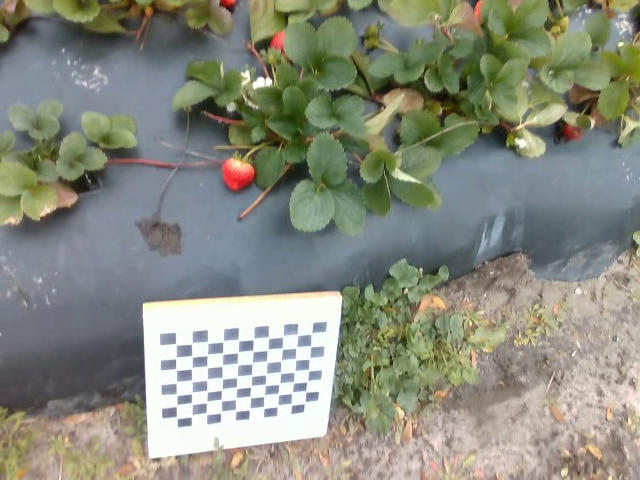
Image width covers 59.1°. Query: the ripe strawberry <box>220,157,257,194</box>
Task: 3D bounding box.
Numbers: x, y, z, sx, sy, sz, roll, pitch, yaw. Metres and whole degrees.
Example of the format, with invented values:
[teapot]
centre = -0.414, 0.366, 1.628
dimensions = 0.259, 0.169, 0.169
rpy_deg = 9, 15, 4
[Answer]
[ripe strawberry]
centre = -0.145, -0.113, 0.968
dimensions = 0.061, 0.065, 0.049
rpy_deg = 7, 16, -22
